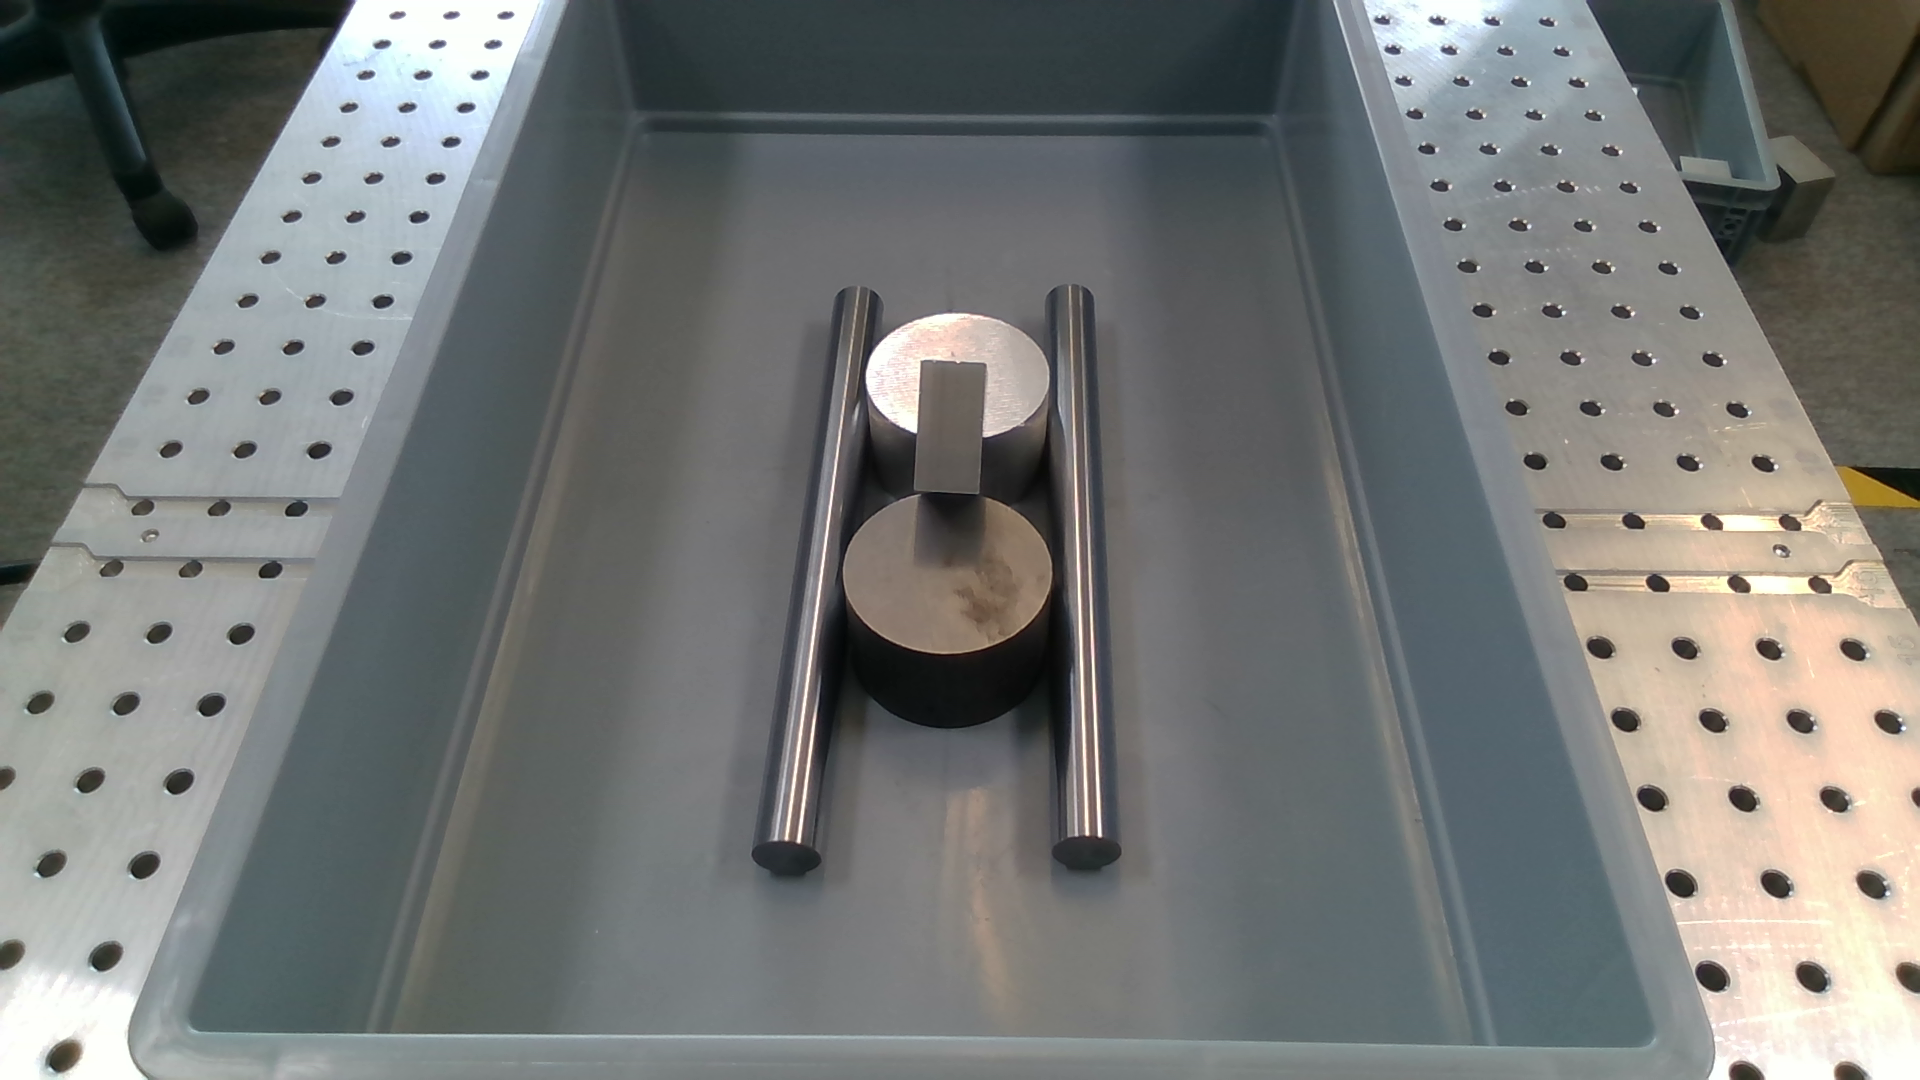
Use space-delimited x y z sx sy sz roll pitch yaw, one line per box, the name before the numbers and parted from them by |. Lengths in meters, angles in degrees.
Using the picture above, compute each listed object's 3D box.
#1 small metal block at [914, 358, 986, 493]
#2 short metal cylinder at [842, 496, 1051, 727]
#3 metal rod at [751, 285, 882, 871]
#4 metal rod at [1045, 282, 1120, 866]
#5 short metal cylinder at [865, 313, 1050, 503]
small metal block | -0.003 -0.045 0.547 0.025 0.050 0.050 3 93 1
short metal cylinder | -0.005 0.027 0.547 0.080 0.050 0.080 0 50 0
metal rod | -0.056 -0.002 0.588 0.025 0.025 0.299 2 50 1
metal rod | 0.050 -0.004 0.589 0.025 0.025 0.299 1 50 1
short metal cylinder | -0.001 -0.056 0.617 0.080 0.050 0.080 0 50 0
